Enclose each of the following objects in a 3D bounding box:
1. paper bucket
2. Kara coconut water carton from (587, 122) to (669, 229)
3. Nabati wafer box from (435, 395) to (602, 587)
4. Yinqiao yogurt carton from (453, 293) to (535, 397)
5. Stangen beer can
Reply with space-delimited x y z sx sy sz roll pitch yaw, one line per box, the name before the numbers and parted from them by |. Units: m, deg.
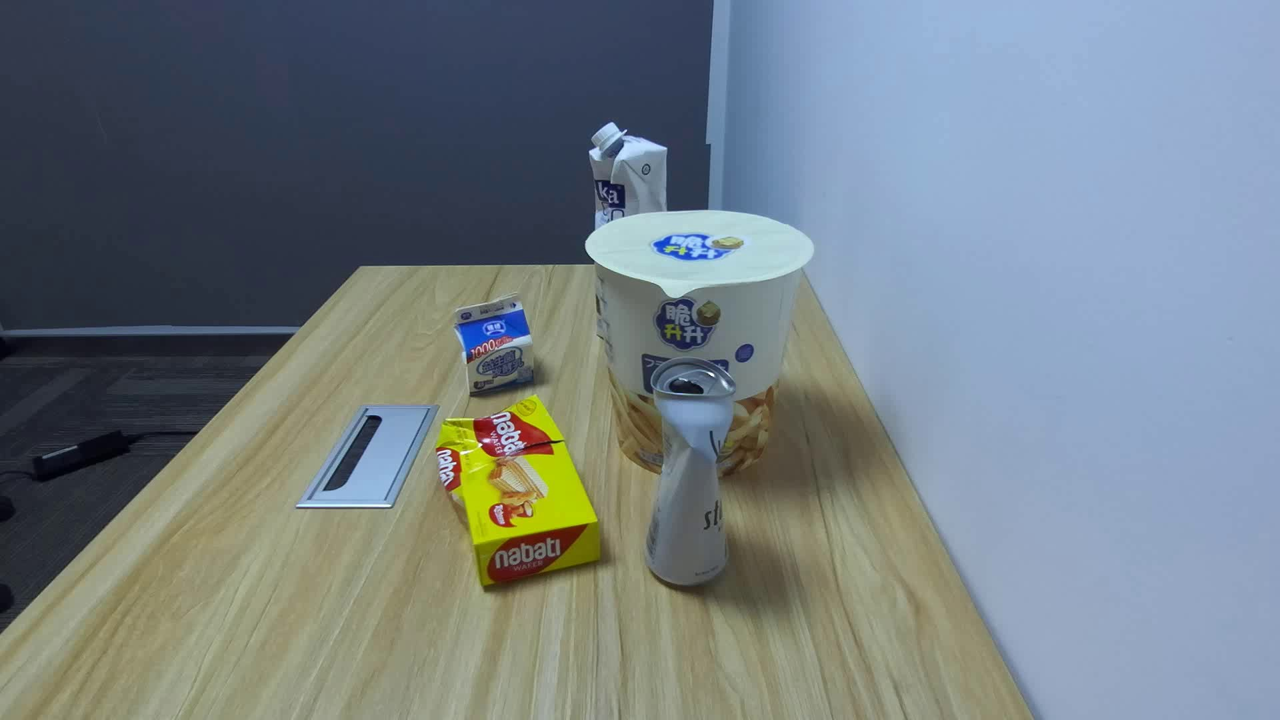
paper bucket | 0.051 -0.015 0.637 0.198 0.195 0.198 0 29 0
Kara coconut water carton | -0.013 -0.140 0.799 0.078 0.256 0.083 -15 32 -21
Nabati wafer box | -0.112 0.099 0.599 0.107 0.042 0.203 -10 29 -18
Yinqiao yogurt carton | -0.161 -0.024 0.765 0.075 0.097 0.080 -14 36 -20
Stangen beer can | 0.033 0.082 0.498 0.076 0.162 0.066 22 38 36
